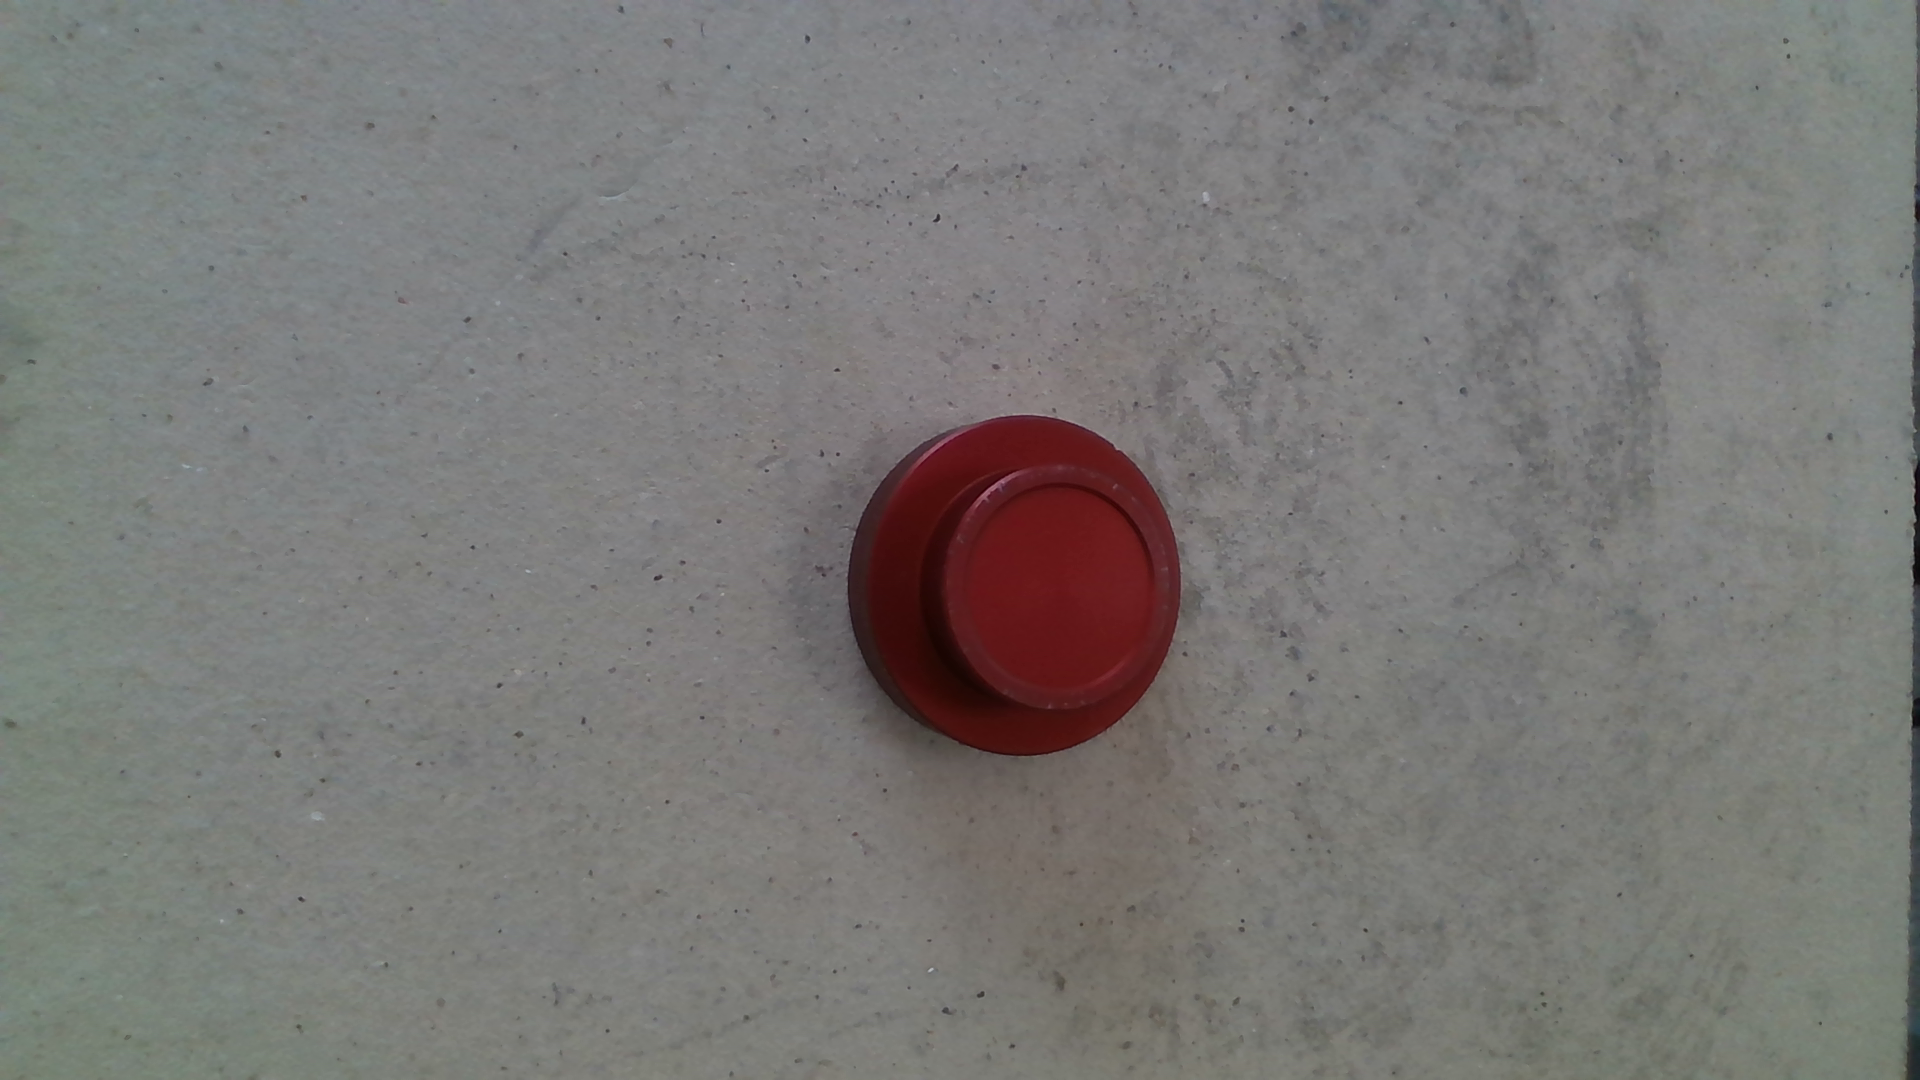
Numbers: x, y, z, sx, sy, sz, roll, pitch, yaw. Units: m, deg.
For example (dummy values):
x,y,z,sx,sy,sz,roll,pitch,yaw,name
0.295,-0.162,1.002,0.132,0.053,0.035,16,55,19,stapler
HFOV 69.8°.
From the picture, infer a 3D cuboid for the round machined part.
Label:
x,y,z,sx,sy,sz,roll,pitch,yaw,name
0.020,0.013,0.393,0.098,0.042,0.098,0,90,-20,round machined part
